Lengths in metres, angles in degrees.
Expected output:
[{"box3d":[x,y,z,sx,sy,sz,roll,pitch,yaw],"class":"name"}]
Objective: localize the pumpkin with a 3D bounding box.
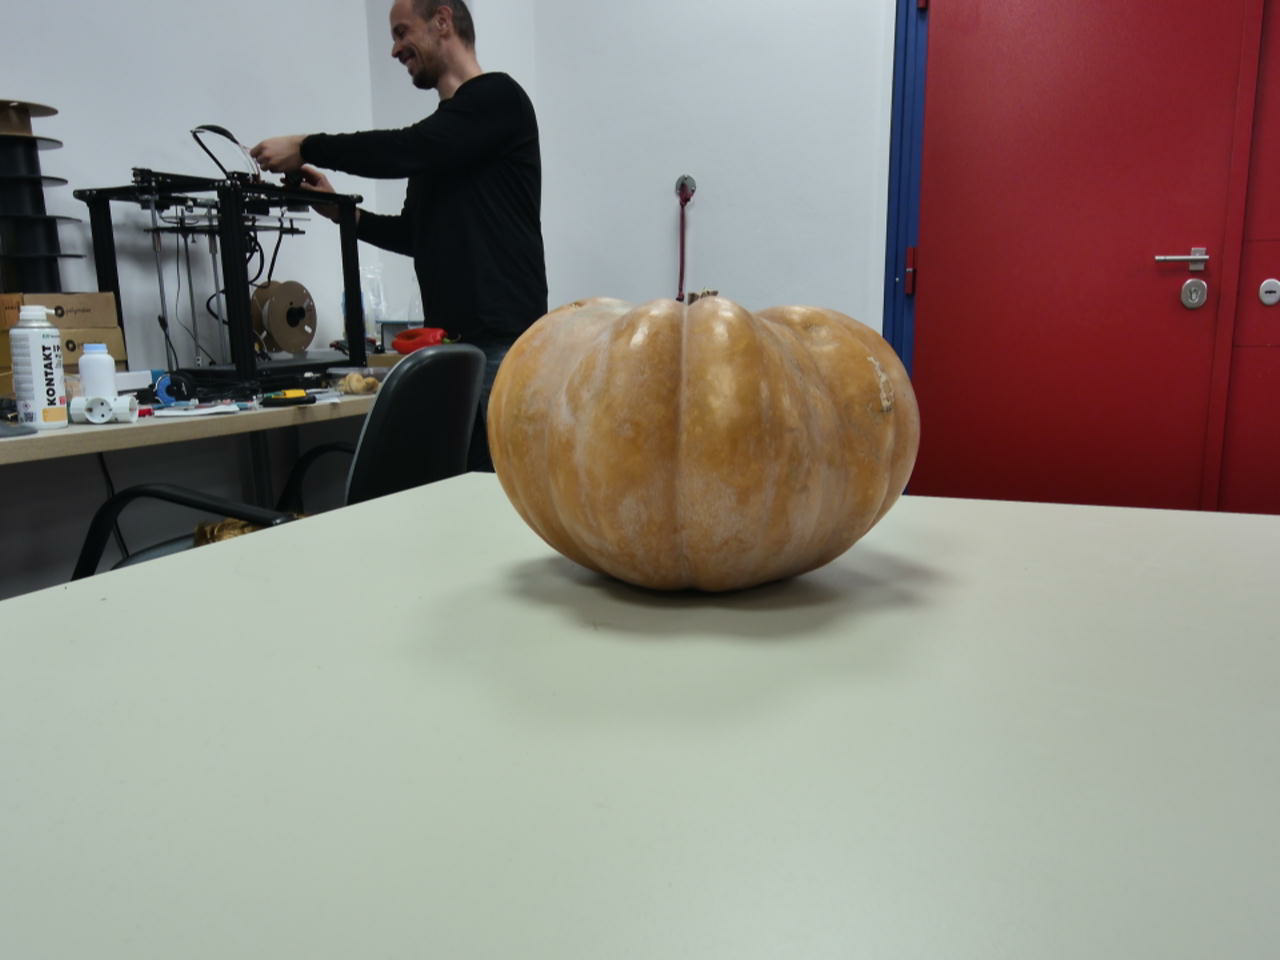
[{"box3d":[0.035,-0.029,0.635,0.277,0.181,0.277,0,7,0],"class":"pumpkin"}]
